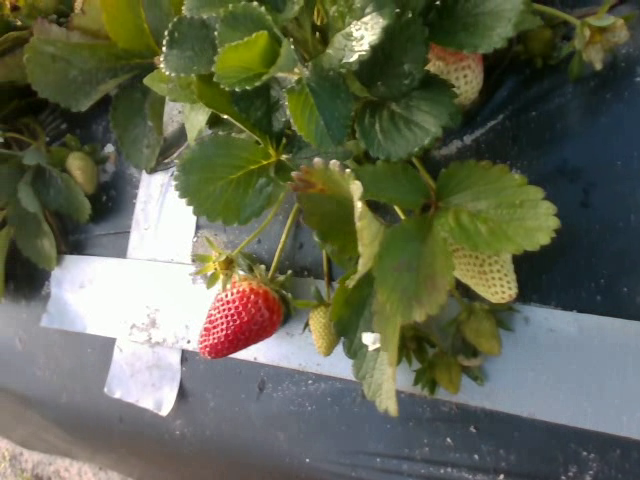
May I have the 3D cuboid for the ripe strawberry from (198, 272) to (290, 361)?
[{"bbox_3d":[-0.022,0.021,0.154,0.021,0.026,0.023,43,-10,-39],"label":"ripe strawberry"}]
